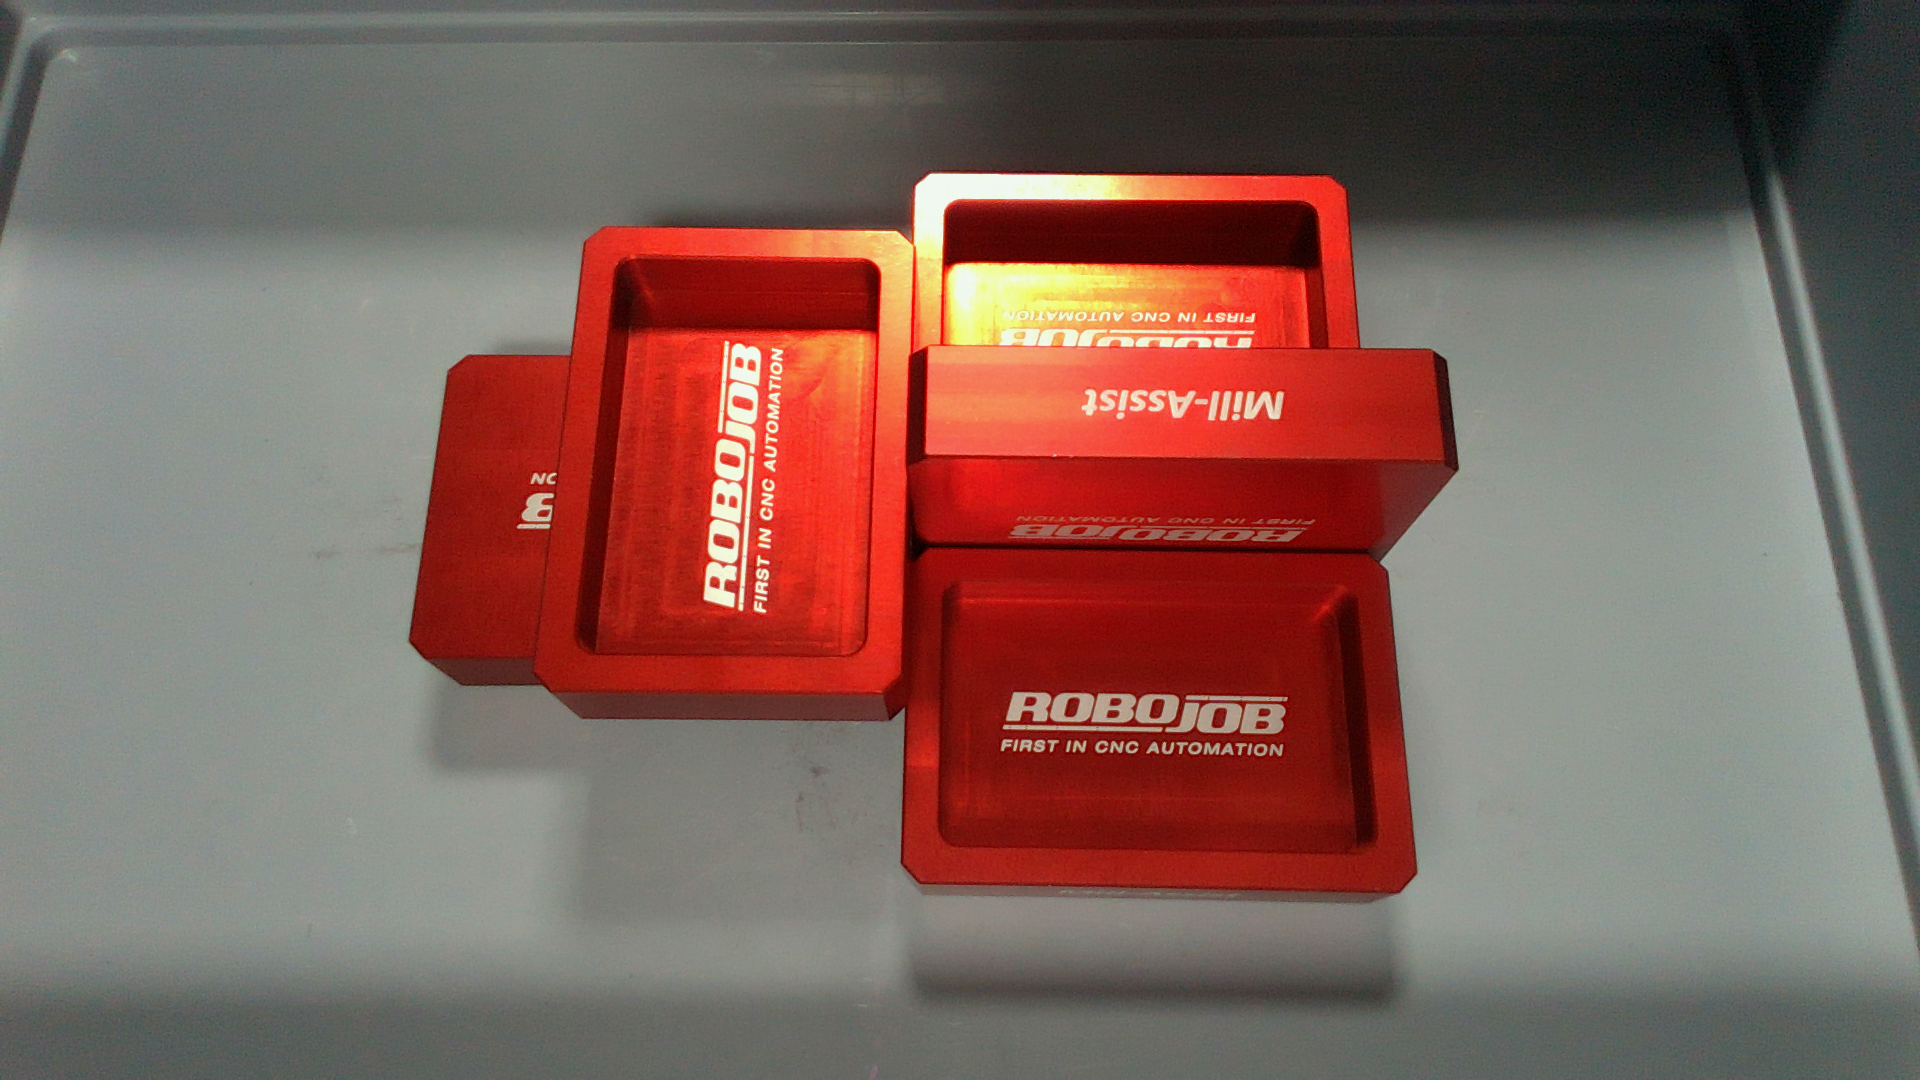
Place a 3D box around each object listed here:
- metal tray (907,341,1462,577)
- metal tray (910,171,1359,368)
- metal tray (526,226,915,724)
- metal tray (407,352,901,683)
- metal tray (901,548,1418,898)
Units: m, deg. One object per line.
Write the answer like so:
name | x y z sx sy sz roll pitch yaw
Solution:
metal tray | 0.053 -0.018 0.364 0.130 0.090 0.030 1 70 0
metal tray | 0.051 -0.064 0.415 0.130 0.030 0.090 1 70 0
metal tray | -0.058 -0.019 0.365 0.090 0.030 0.130 1 70 0
metal tray | -0.081 -0.006 0.391 0.130 0.030 0.090 0 70 0
metal tray | 0.051 0.050 0.372 0.130 0.030 0.090 1 70 0
